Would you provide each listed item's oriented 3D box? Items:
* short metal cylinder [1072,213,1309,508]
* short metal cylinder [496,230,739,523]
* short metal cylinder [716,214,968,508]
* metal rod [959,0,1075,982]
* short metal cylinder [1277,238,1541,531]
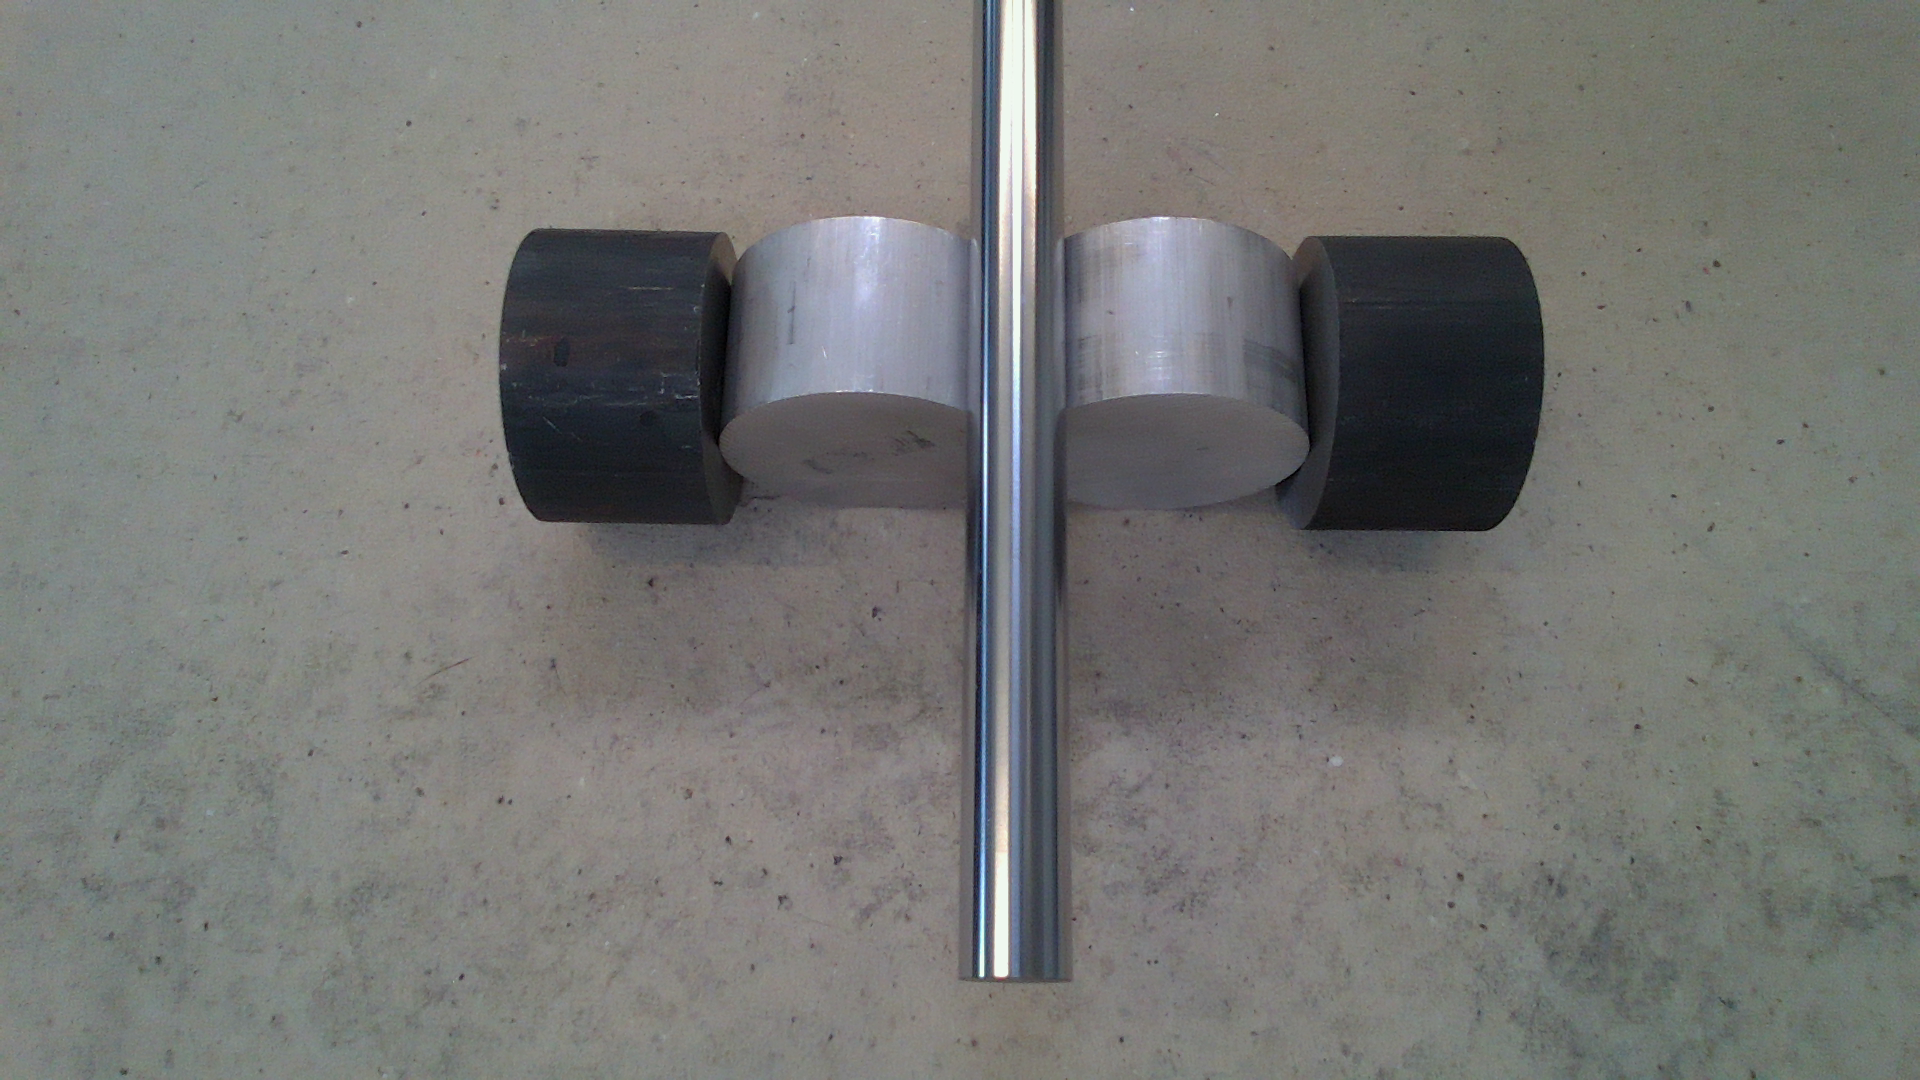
[{"bbox_3d":[0.054,-0.047,0.382,0.080,0.080,0.050,1,70,0],"label":"short metal cylinder"},{"bbox_3d":[-0.090,-0.045,0.382,0.050,0.080,0.080,1,70,0],"label":"short metal cylinder"},{"bbox_3d":[-0.025,-0.047,0.383,0.080,0.080,0.050,1,70,0],"label":"short metal cylinder"},{"bbox_3d":[0.014,-0.046,0.346,0.025,0.025,0.300,1,70,0],"label":"metal rod"},{"bbox_3d":[0.120,-0.043,0.382,0.050,0.080,0.080,1,70,0],"label":"short metal cylinder"}]
